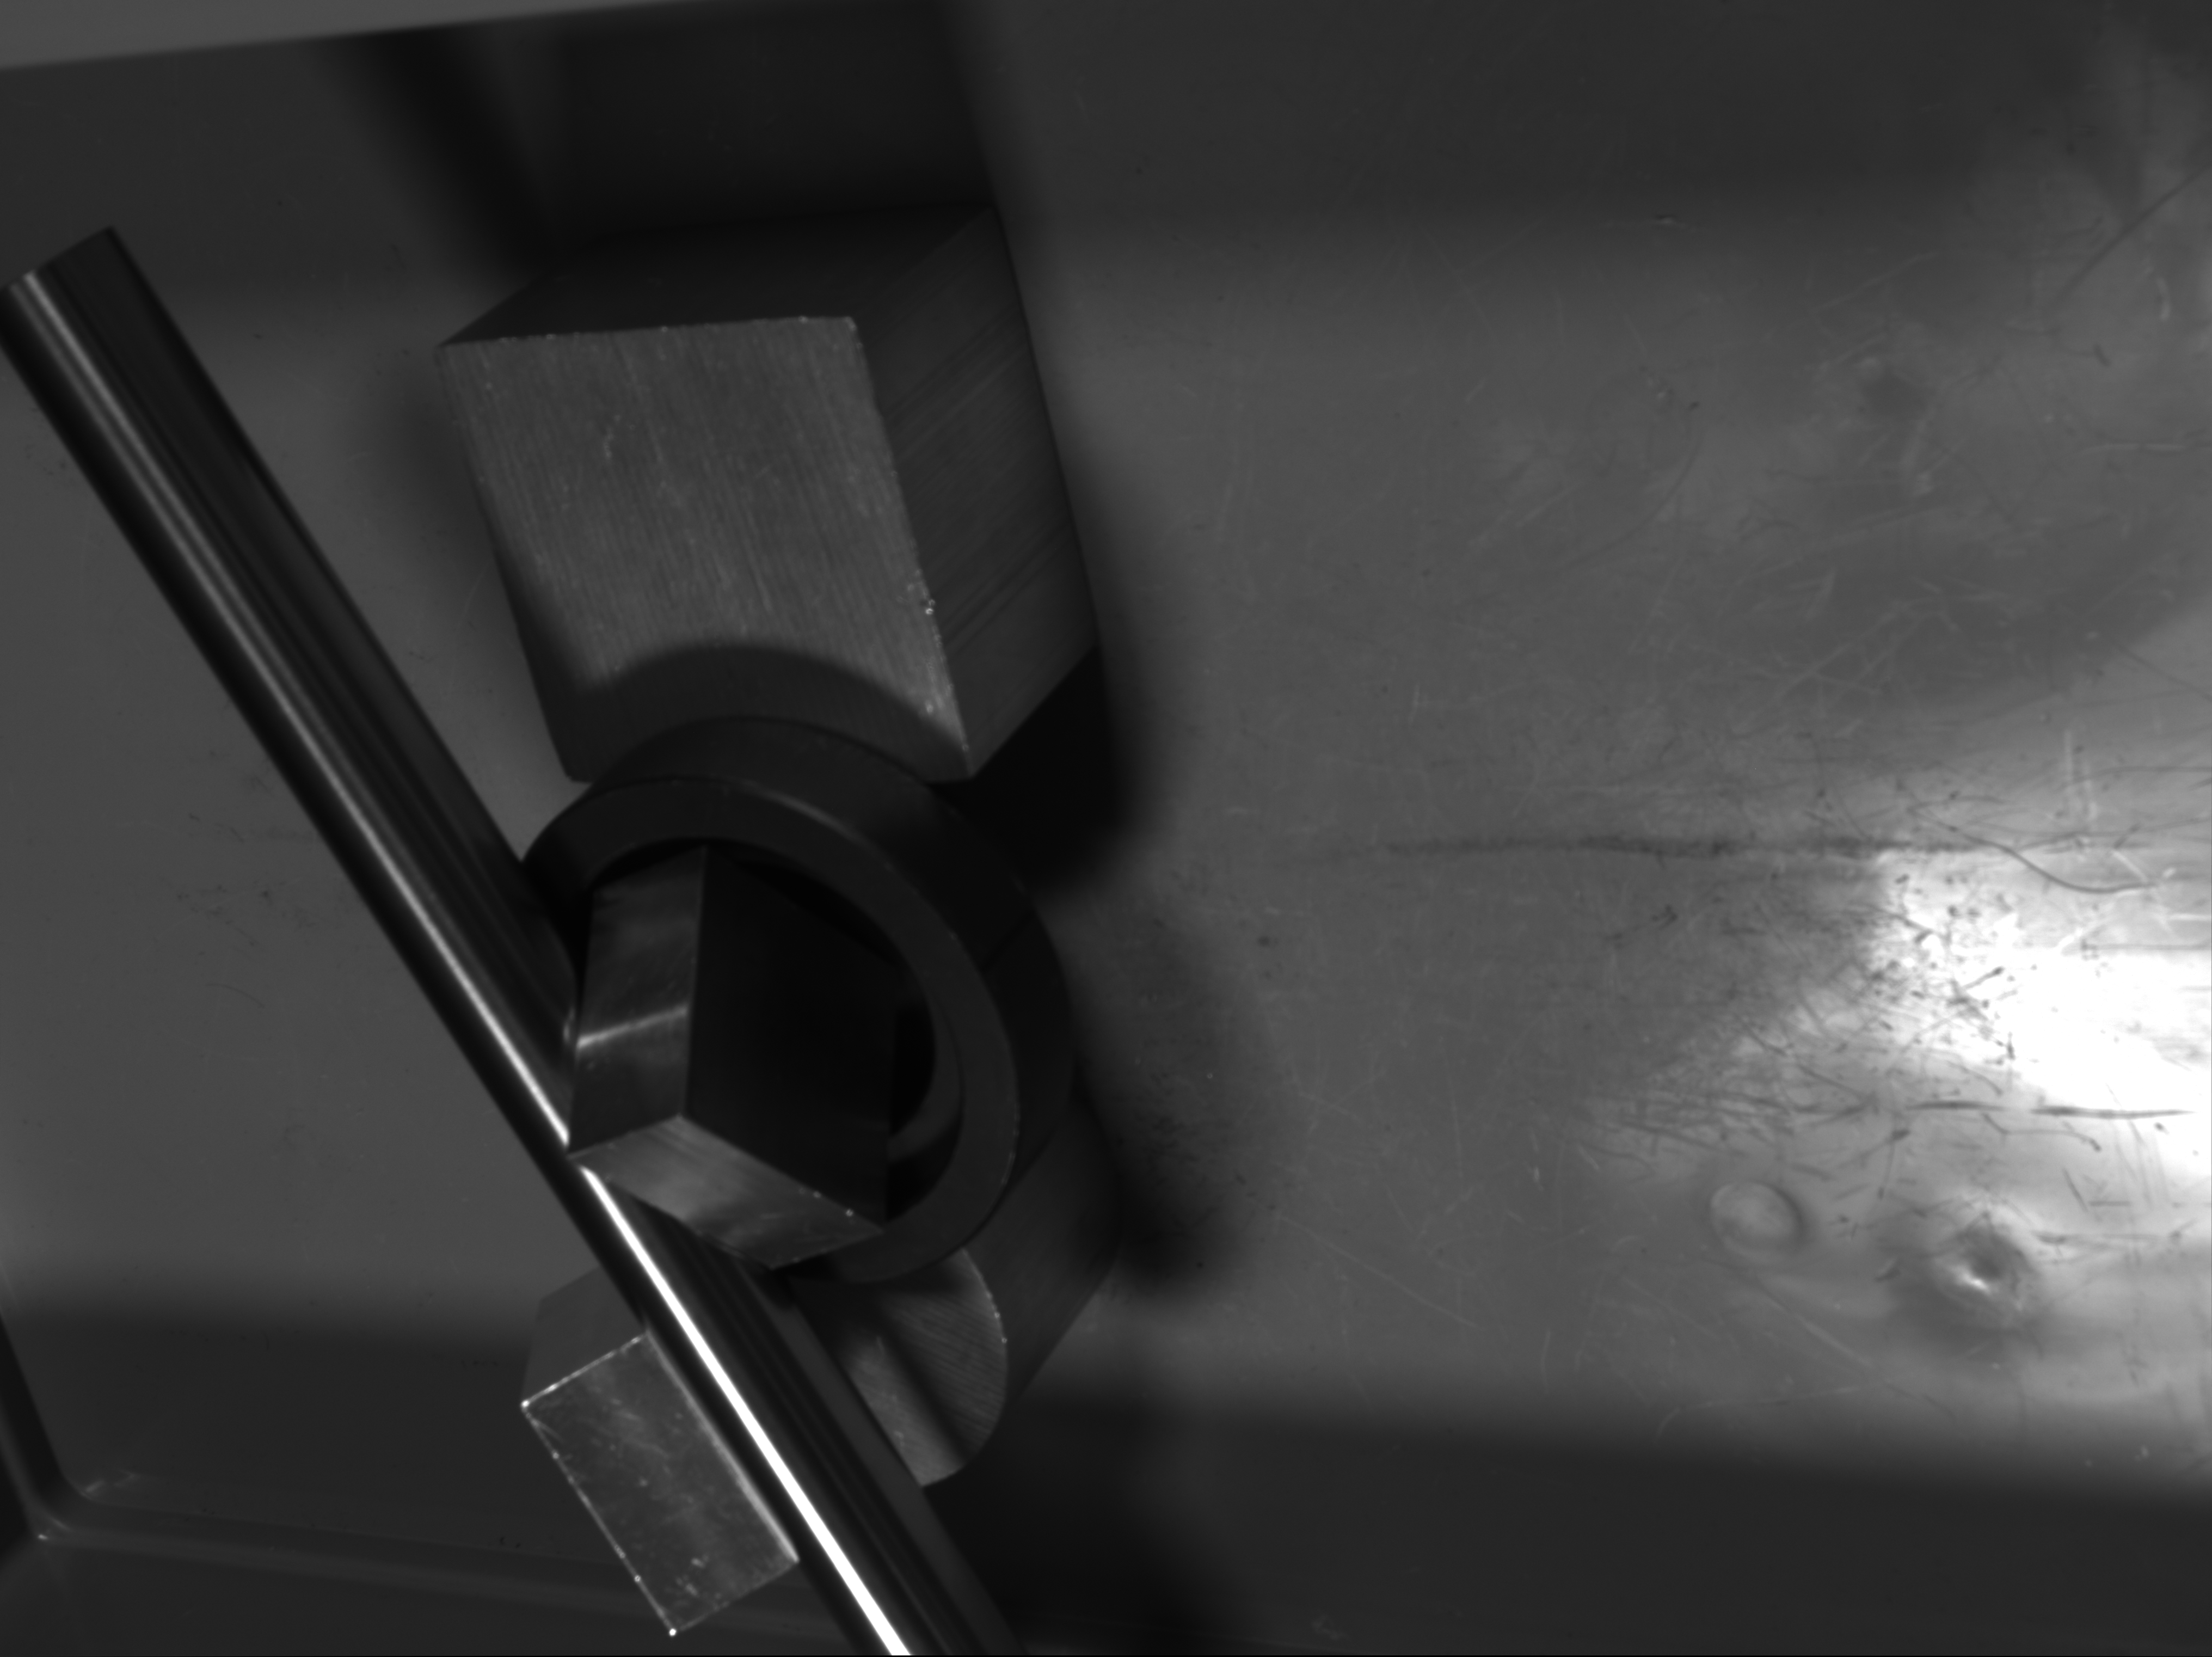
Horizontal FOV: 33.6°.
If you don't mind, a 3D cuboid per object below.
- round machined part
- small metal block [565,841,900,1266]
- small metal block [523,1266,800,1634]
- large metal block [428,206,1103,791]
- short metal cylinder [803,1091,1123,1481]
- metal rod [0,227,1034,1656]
[{"bbox_3d":[-0.049,0.025,0.621,0.098,0.042,0.098,12,123,20],"label":"round machined part"},{"bbox_3d":[-0.061,0.038,0.606,0.025,0.050,0.050,-21,142,31],"label":"small metal block"},{"bbox_3d":[-0.078,0.106,0.651,0.025,0.050,0.050,-30,104,2],"label":"small metal block"},{"bbox_3d":[-0.055,-0.053,0.607,0.080,0.050,0.080,0,118,27],"label":"large metal block"},{"bbox_3d":[-0.043,0.075,0.682,0.080,0.050,0.080,12,123,20],"label":"short metal cylinder"},{"bbox_3d":[-0.091,0.038,0.609,0.025,0.025,0.300,-20,108,34],"label":"metal rod"}]
